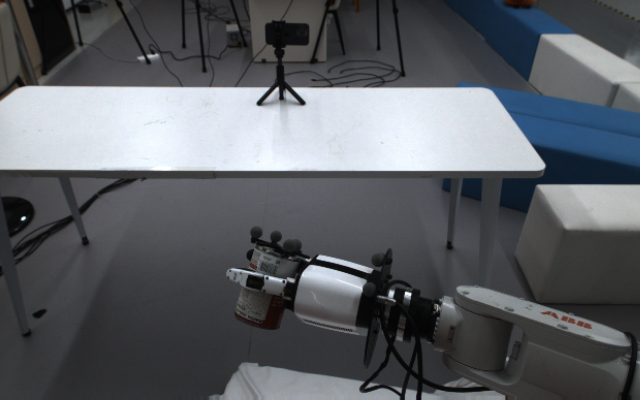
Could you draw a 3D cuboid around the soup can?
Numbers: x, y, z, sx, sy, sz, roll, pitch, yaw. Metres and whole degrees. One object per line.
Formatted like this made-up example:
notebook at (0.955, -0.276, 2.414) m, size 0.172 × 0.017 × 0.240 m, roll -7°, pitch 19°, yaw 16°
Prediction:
soup can at (-0.071, 0.121, 0.672) m, size 0.067 × 0.101 × 0.067 m, roll 17°, pitch -1°, yaw 0°
